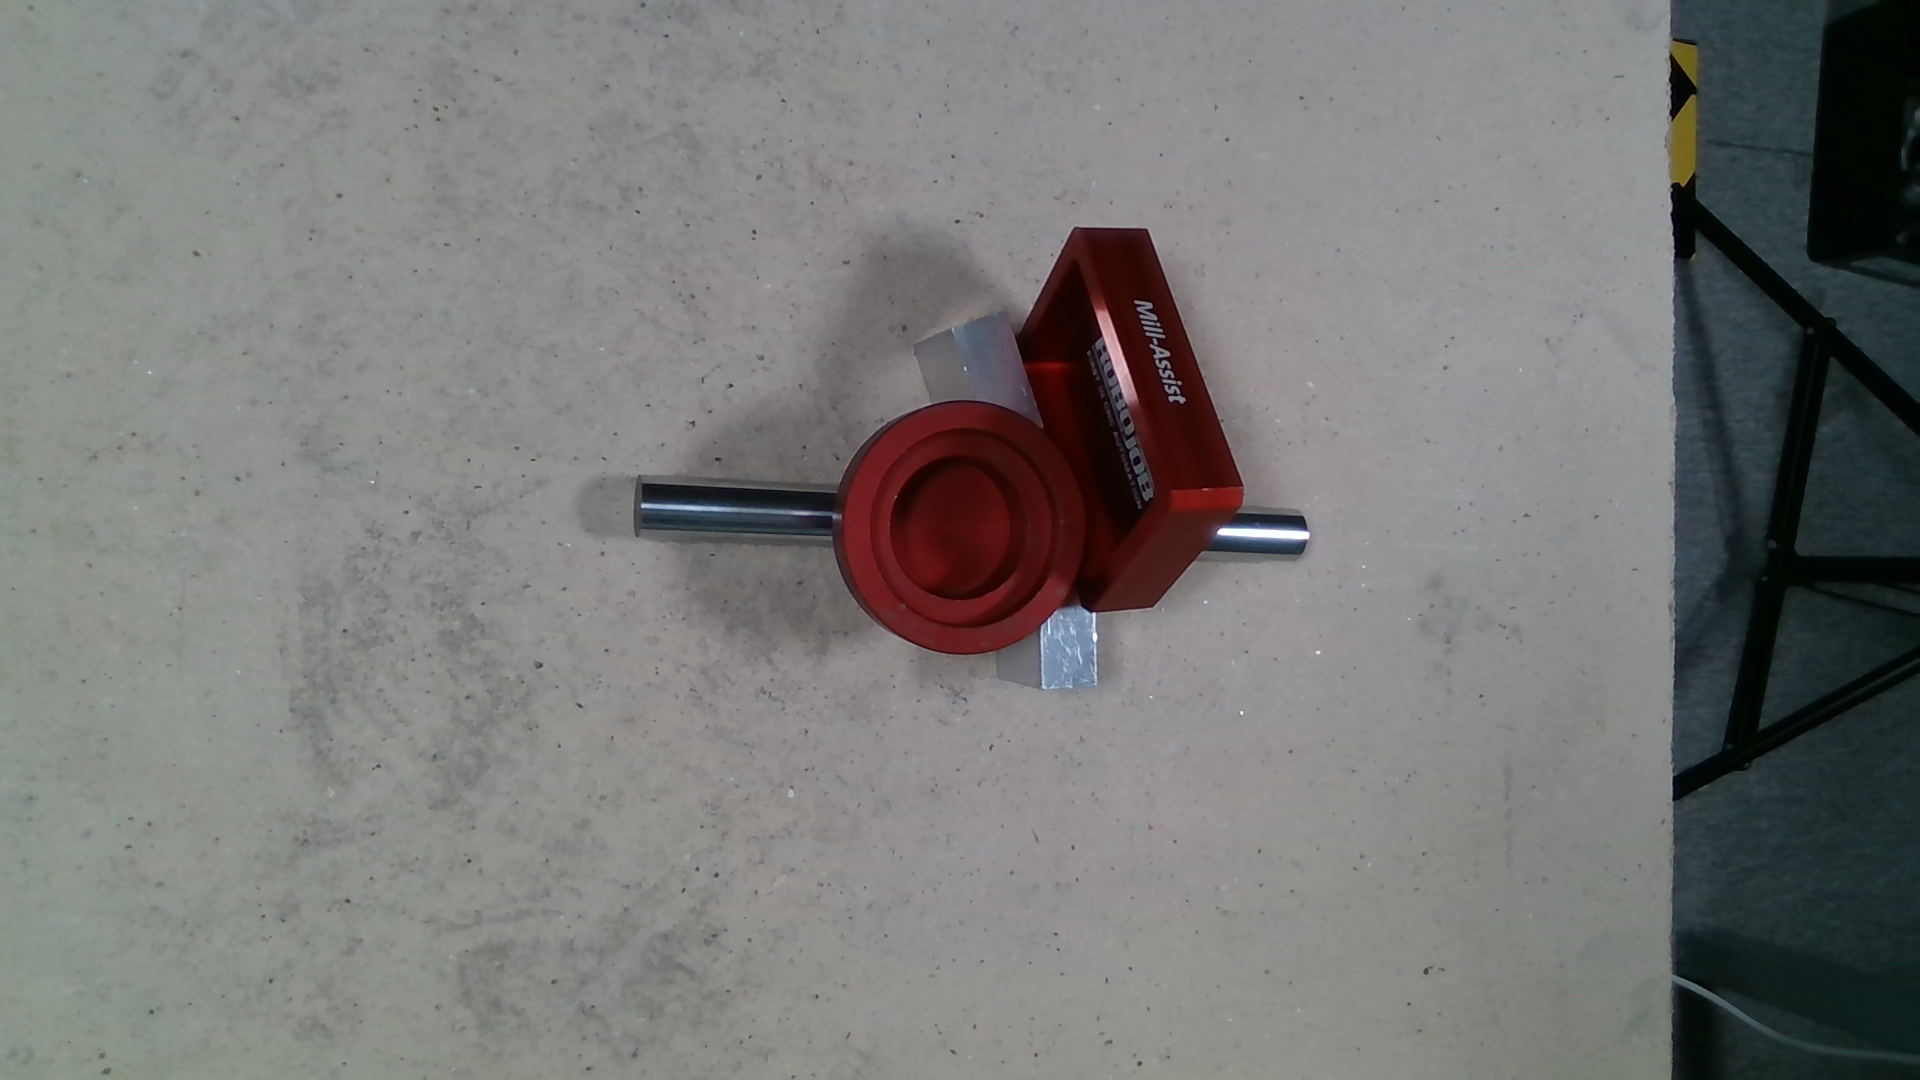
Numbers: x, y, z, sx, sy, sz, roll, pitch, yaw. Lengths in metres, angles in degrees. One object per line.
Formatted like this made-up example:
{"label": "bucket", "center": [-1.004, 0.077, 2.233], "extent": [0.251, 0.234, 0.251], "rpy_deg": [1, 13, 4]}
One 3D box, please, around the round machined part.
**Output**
{"label": "round machined part", "center": [-0.003, -0.005, 0.546], "extent": [0.098, 0.042, 0.098], "rpy_deg": [-1, 92, -17]}

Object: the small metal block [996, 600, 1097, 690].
{"label": "small metal block", "center": [0.035, 0.036, 0.586], "extent": [0.025, 0.050, 0.050], "rpy_deg": [-2, 91, -20]}

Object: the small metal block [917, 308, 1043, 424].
{"label": "small metal block", "center": [0.007, -0.065, 0.575], "extent": [0.025, 0.050, 0.050], "rpy_deg": [-21, 97, -19]}

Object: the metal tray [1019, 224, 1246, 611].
{"label": "metal tray", "center": [0.062, -0.049, 0.549], "extent": [0.030, 0.090, 0.130], "rpy_deg": [-4, 62, -22]}

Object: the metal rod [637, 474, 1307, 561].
{"label": "metal rod", "center": [0.014, -0.008, 0.591], "extent": [0.300, 0.025, 0.025], "rpy_deg": [2, 89, -20]}
